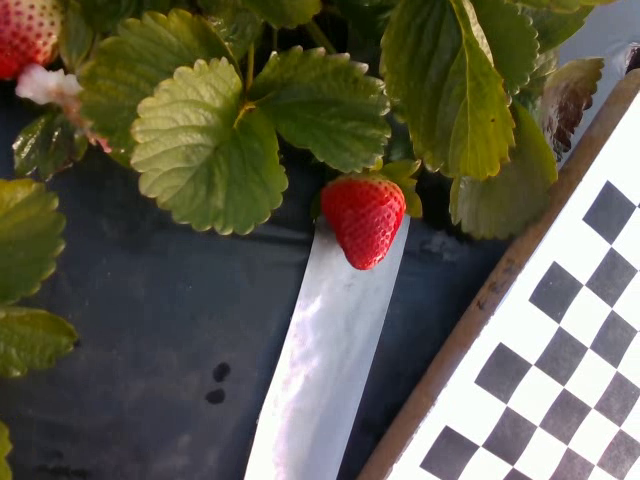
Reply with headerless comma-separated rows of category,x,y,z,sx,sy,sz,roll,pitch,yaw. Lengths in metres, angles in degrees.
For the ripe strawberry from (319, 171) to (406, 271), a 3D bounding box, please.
ripe strawberry,0.022,-0.006,0.262,0.050,0.055,0.035,30,-19,-27
